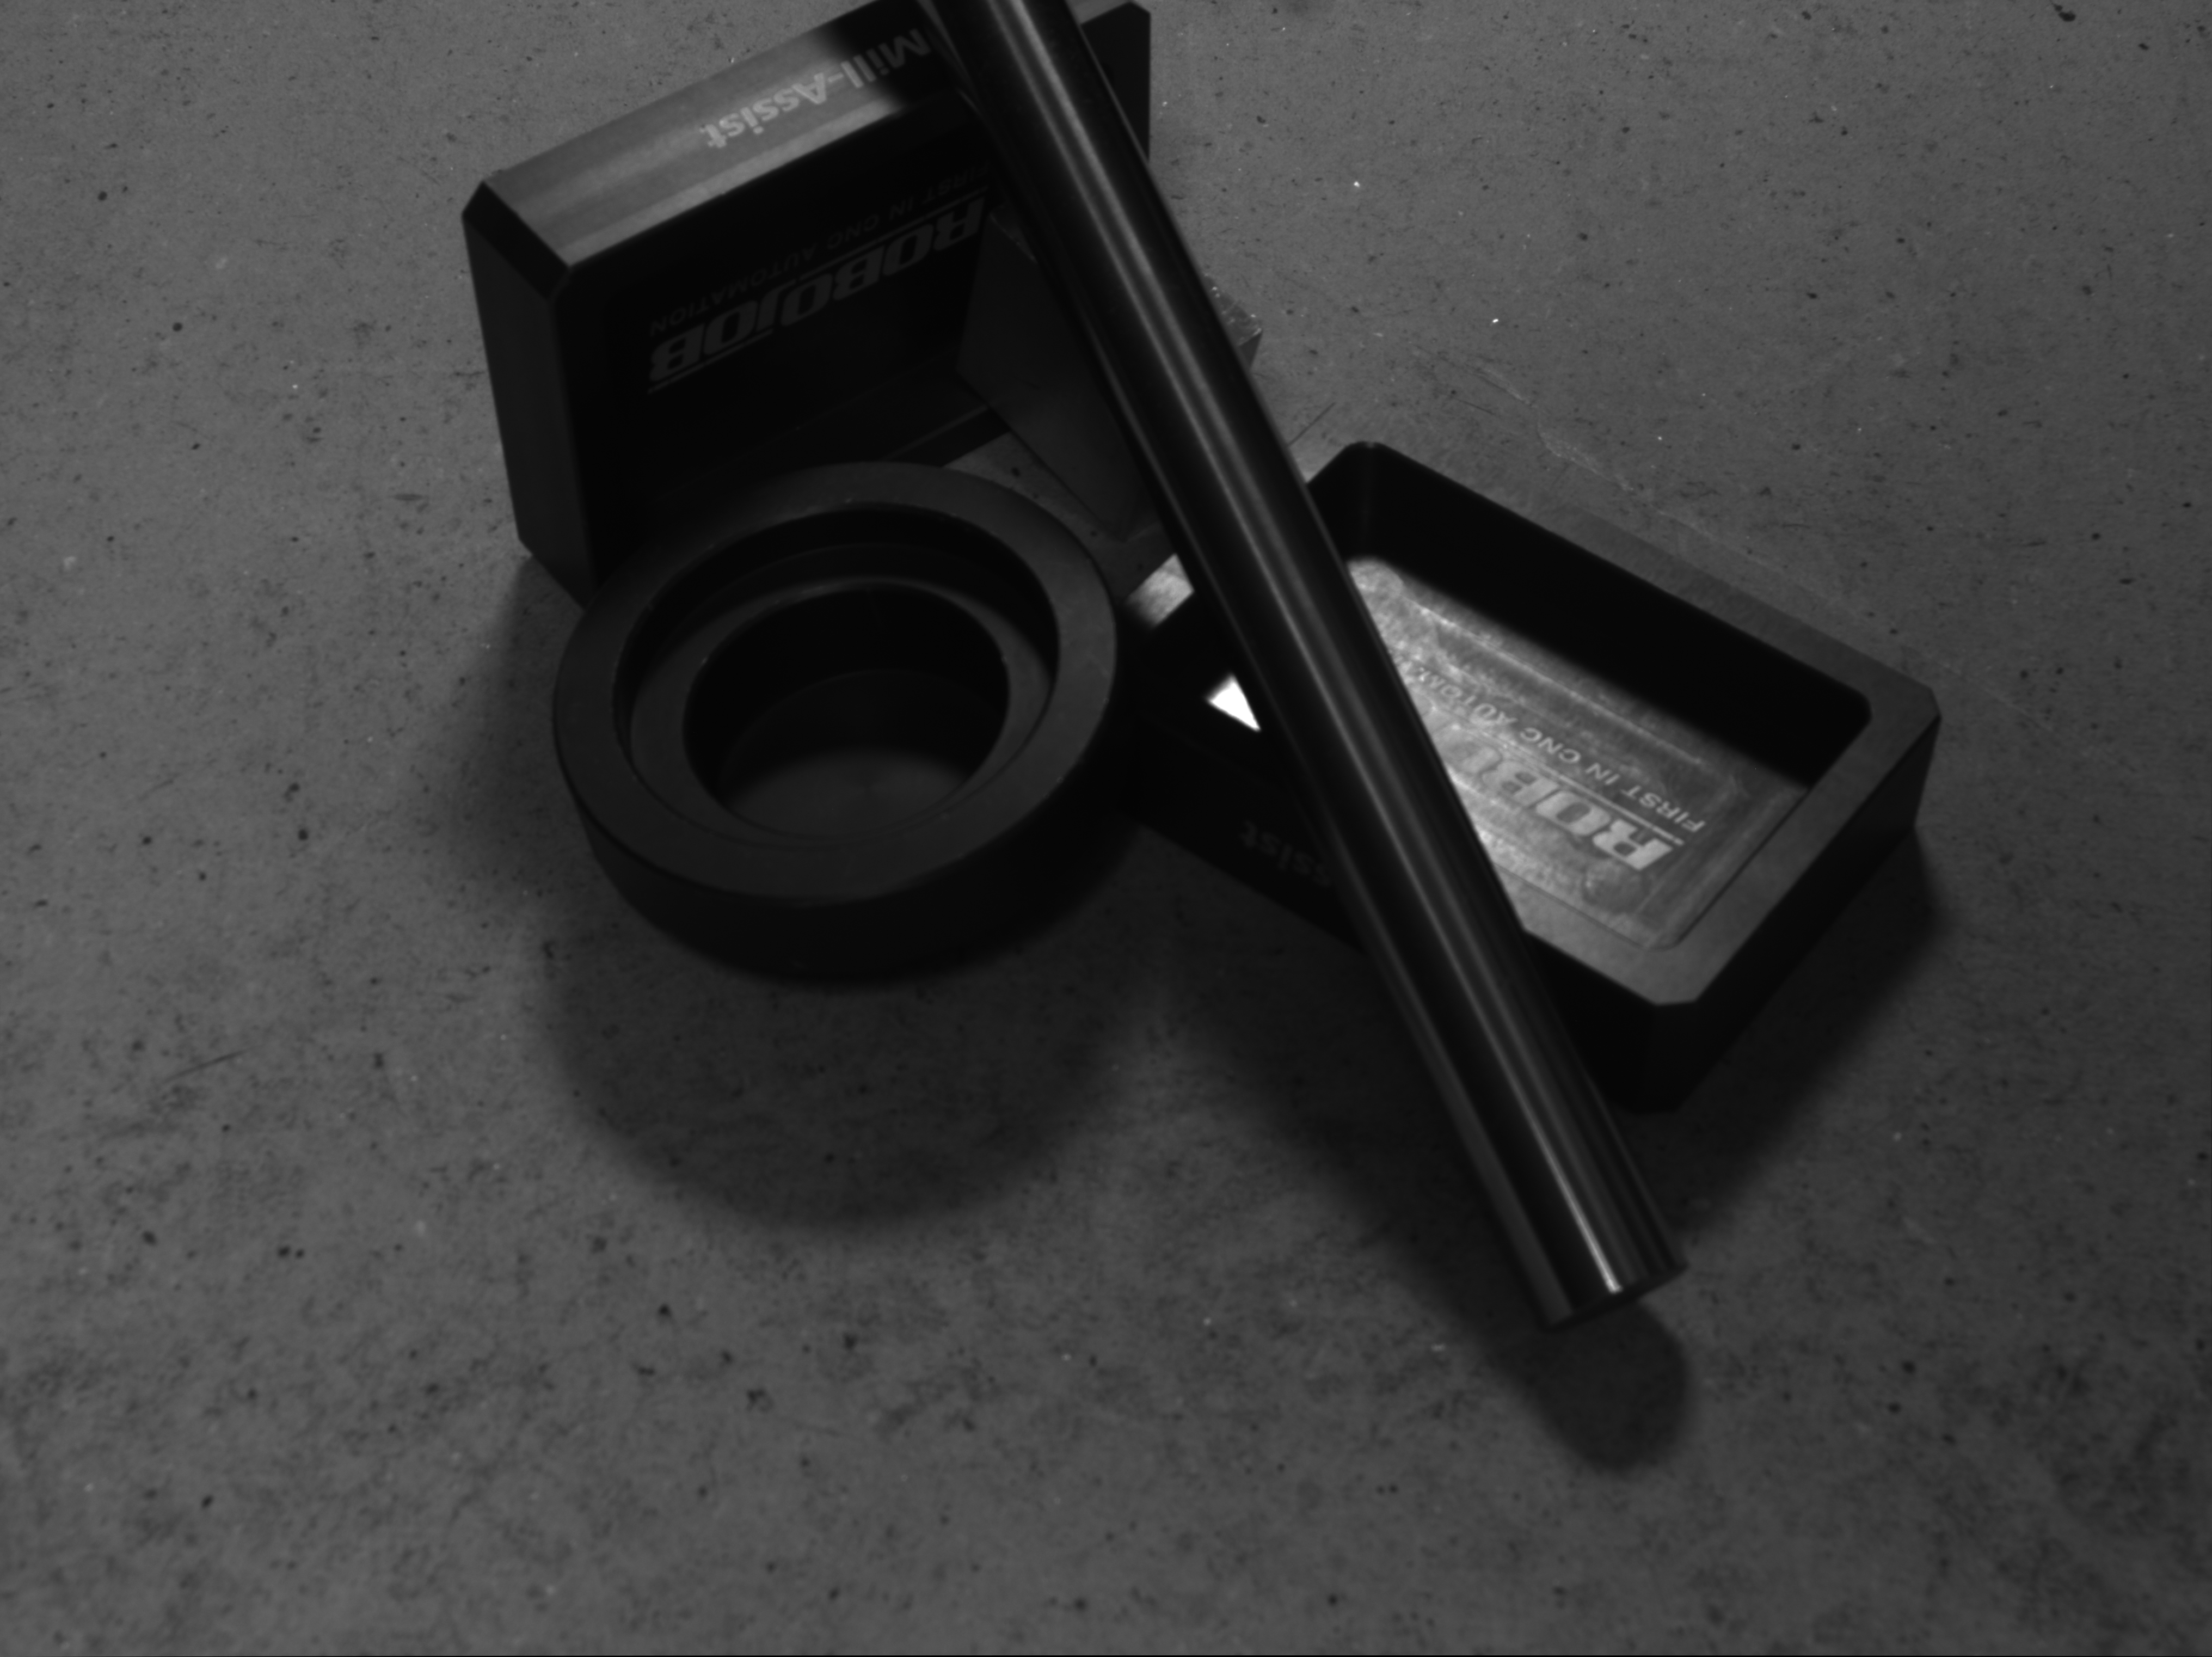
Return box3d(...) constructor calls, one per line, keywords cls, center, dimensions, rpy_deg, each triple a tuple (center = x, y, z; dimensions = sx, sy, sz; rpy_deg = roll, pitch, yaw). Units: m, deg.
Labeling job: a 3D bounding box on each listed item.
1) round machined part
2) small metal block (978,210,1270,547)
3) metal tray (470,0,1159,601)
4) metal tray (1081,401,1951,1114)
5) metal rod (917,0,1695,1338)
box3d(cls="round machined part", center=(-0.042, -0.014, 0.638), dimensions=(0.098, 0.042, 0.098), rpy_deg=(-4, 53, 5))
box3d(cls="small metal block", center=(0.001, -0.090, 0.696), dimensions=(0.025, 0.050, 0.050), rpy_deg=(-36, 73, -24))
box3d(cls="metal tray", center=(-0.050, -0.103, 0.686), dimensions=(0.130, 0.090, 0.030), rpy_deg=(-30, 56, -23))
box3d(cls="metal tray", center=(0.071, -0.016, 0.653), dimensions=(0.130, 0.030, 0.090), rpy_deg=(31, 56, 23))
box3d(cls="metal rod", center=(0.022, -0.056, 0.620), dimensions=(0.025, 0.025, 0.300), rpy_deg=(-20, 75, -16))
